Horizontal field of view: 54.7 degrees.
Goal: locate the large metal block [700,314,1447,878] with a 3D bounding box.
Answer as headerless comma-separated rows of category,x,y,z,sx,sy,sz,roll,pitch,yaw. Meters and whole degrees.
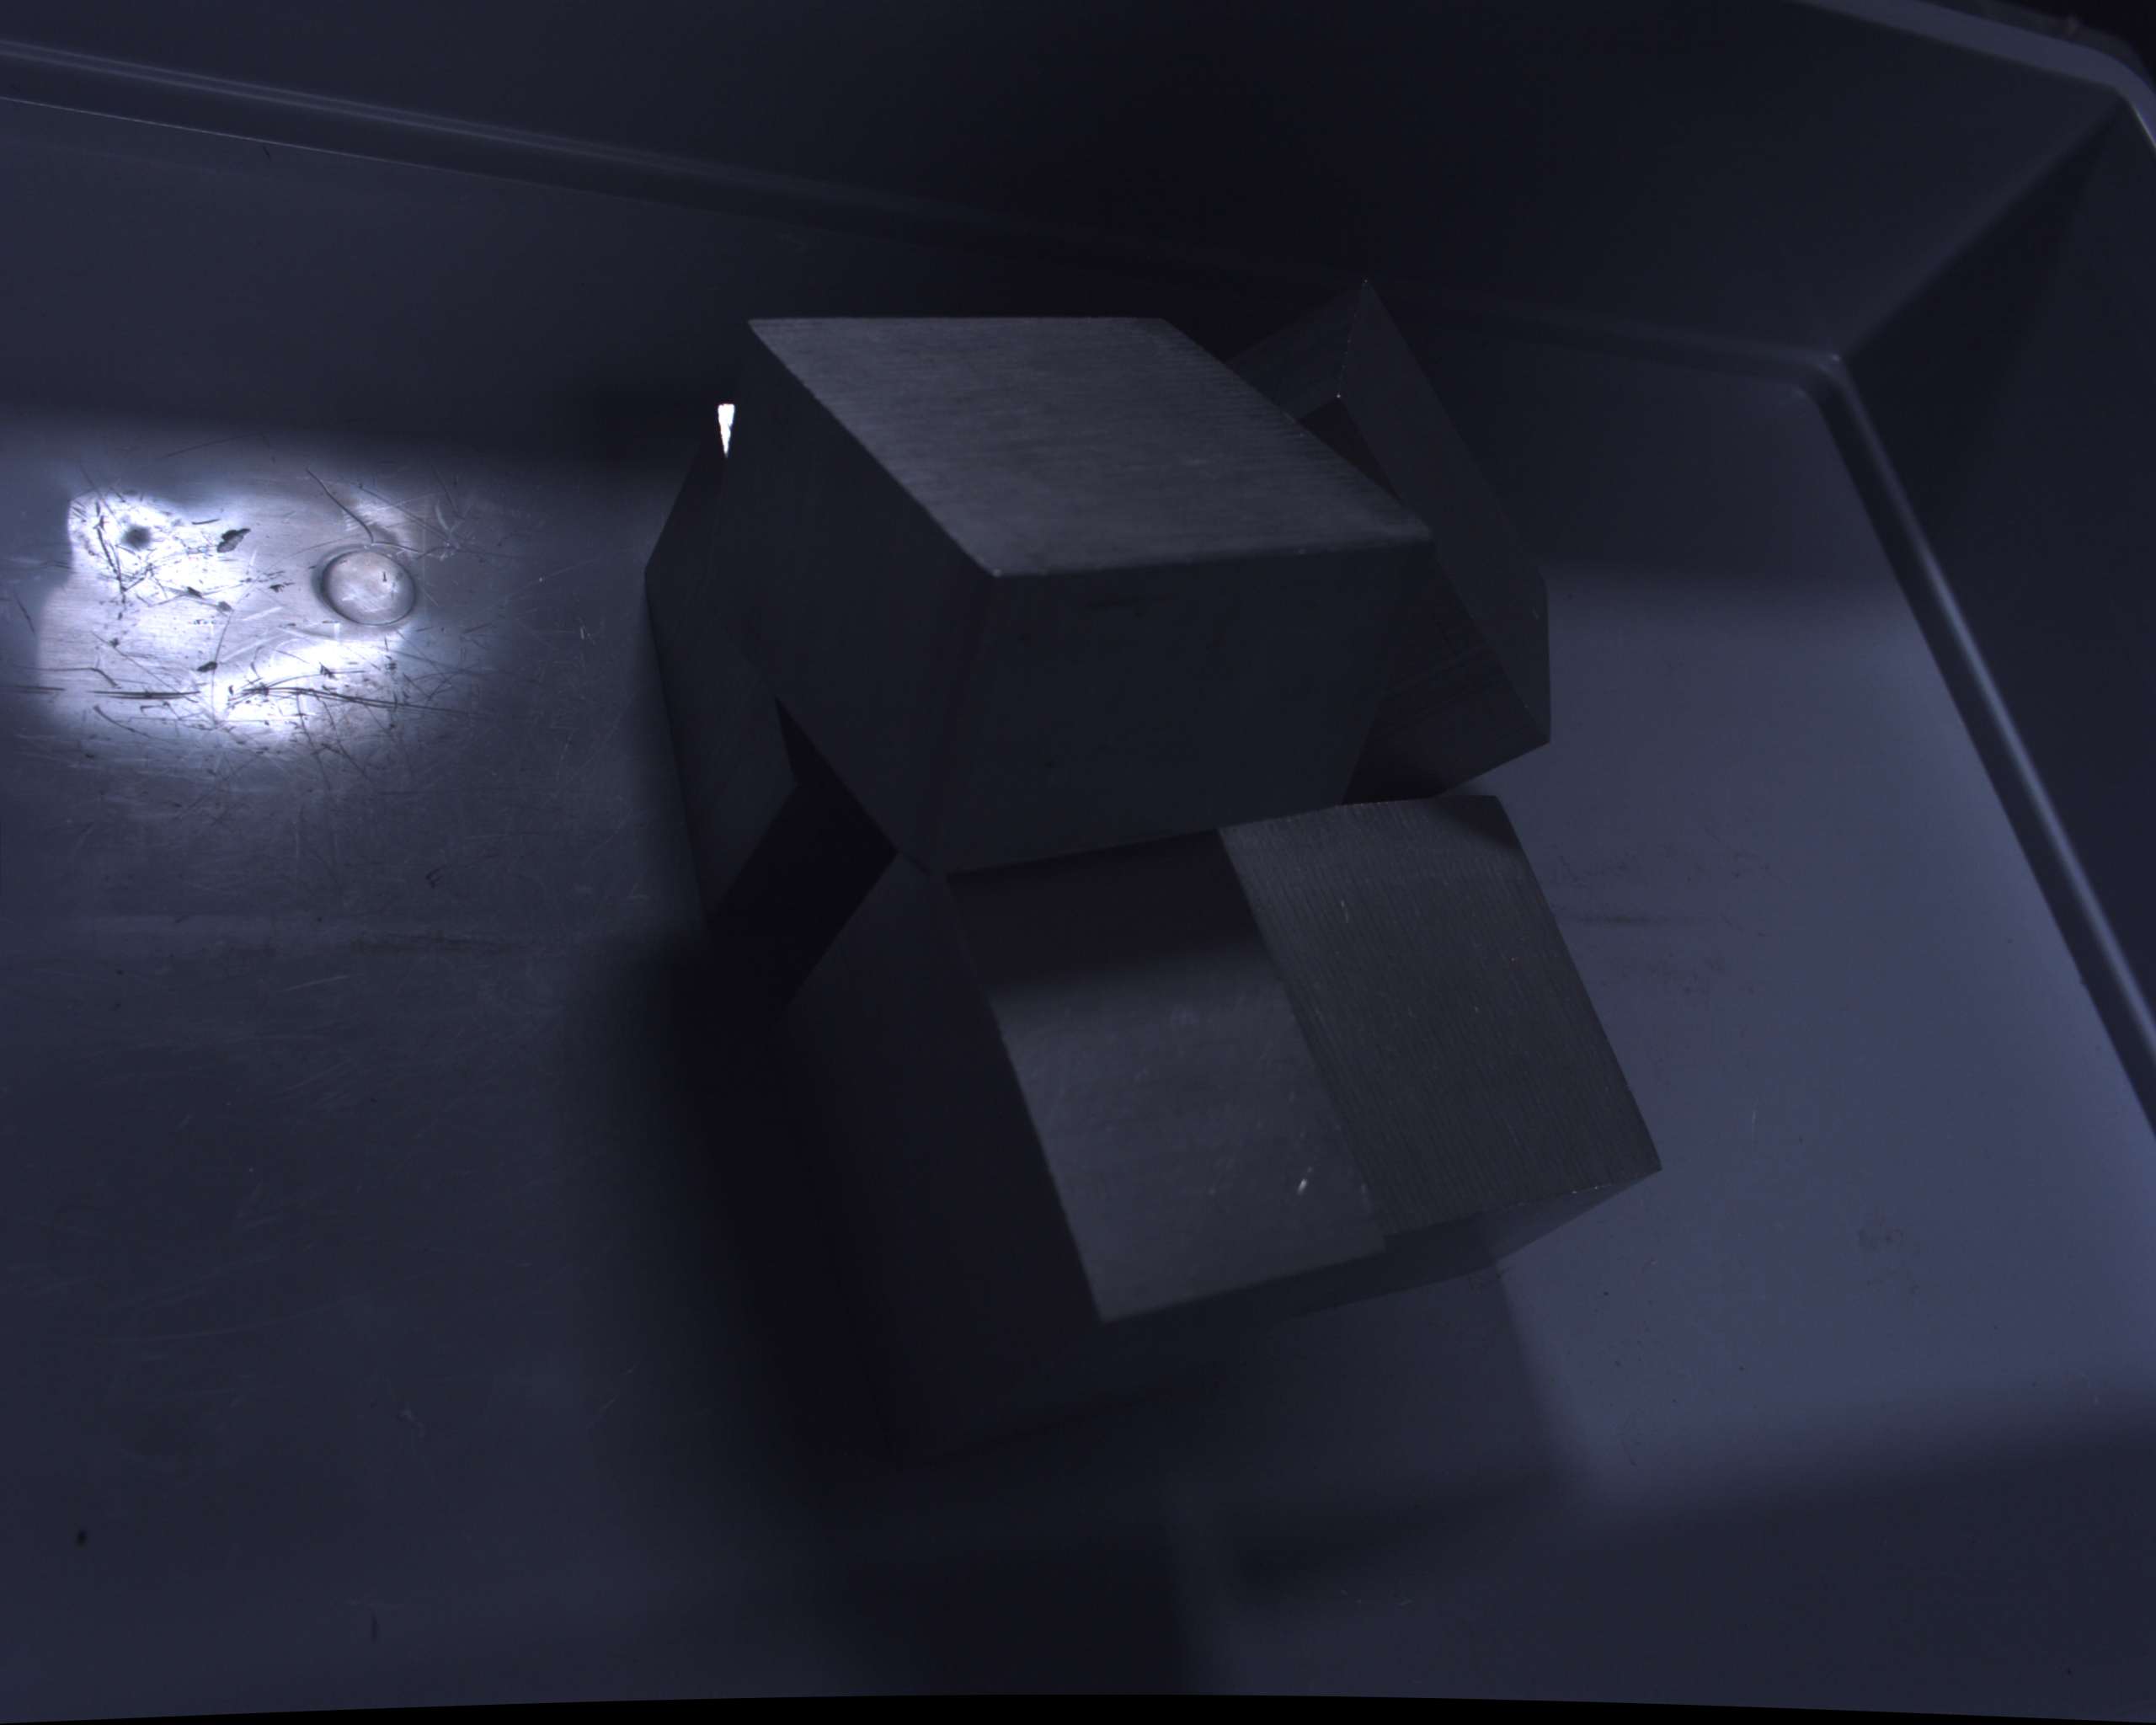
large metal block,-0.004,-0.047,0.332,0.081,0.050,0.080,-10,42,-32

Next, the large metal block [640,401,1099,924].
large metal block,-0.031,-0.036,0.395,0.081,0.050,0.080,-1,62,-29

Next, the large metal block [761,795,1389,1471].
large metal block,-0.005,0.044,0.340,0.050,0.080,0.080,-7,65,-32

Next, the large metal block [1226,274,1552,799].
large metal block,0.054,-0.062,0.424,0.080,0.050,0.080,54,26,-20

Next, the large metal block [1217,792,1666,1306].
large metal block,0.049,0.036,0.391,0.081,0.050,0.080,-6,65,-31
